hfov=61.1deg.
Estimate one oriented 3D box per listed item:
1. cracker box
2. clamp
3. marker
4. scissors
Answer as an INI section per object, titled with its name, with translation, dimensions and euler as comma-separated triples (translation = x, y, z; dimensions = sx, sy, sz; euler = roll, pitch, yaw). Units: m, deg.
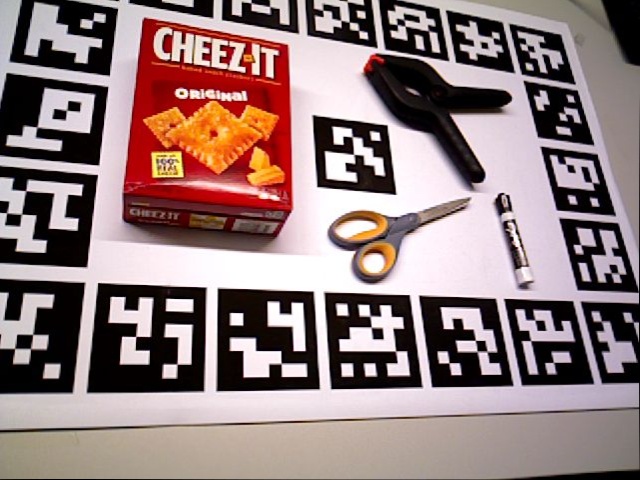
[cracker box]
translation = -0.115, -0.115, 0.571
dimensions = 0.162, 0.073, 0.211
euler = 4, 66, -16
[clamp]
translation = 0.135, -0.182, 0.718
dimensions = 0.202, 0.037, 0.162
euler = 31, 60, -4
[marker]
translation = 0.238, -0.004, 0.665
dimensions = 0.019, 0.020, 0.120
euler = -1, 66, -19
[scissors]
translation = 0.103, -0.016, 0.627
dimensions = 0.198, 0.016, 0.087
euler = -26, 76, -29
